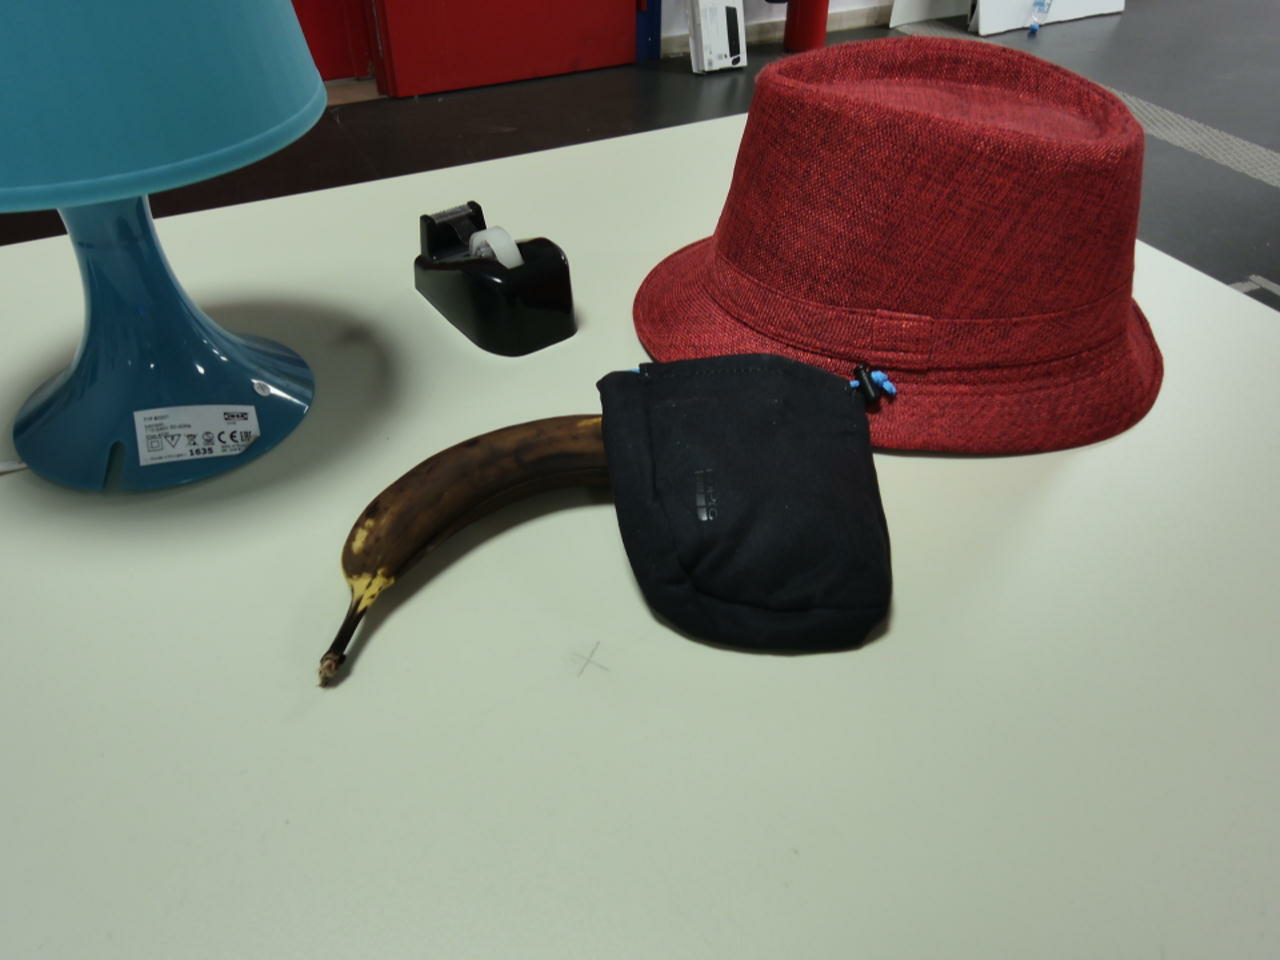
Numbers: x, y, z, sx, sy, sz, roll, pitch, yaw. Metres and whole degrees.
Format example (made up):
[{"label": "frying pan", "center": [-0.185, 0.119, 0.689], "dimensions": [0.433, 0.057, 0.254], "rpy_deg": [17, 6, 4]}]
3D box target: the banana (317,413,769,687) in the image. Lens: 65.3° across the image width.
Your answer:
[{"label": "banana", "center": [-0.047, 0.009, 0.406], "dimensions": [0.188, 0.034, 0.091], "rpy_deg": [-16, 41, -20]}]
